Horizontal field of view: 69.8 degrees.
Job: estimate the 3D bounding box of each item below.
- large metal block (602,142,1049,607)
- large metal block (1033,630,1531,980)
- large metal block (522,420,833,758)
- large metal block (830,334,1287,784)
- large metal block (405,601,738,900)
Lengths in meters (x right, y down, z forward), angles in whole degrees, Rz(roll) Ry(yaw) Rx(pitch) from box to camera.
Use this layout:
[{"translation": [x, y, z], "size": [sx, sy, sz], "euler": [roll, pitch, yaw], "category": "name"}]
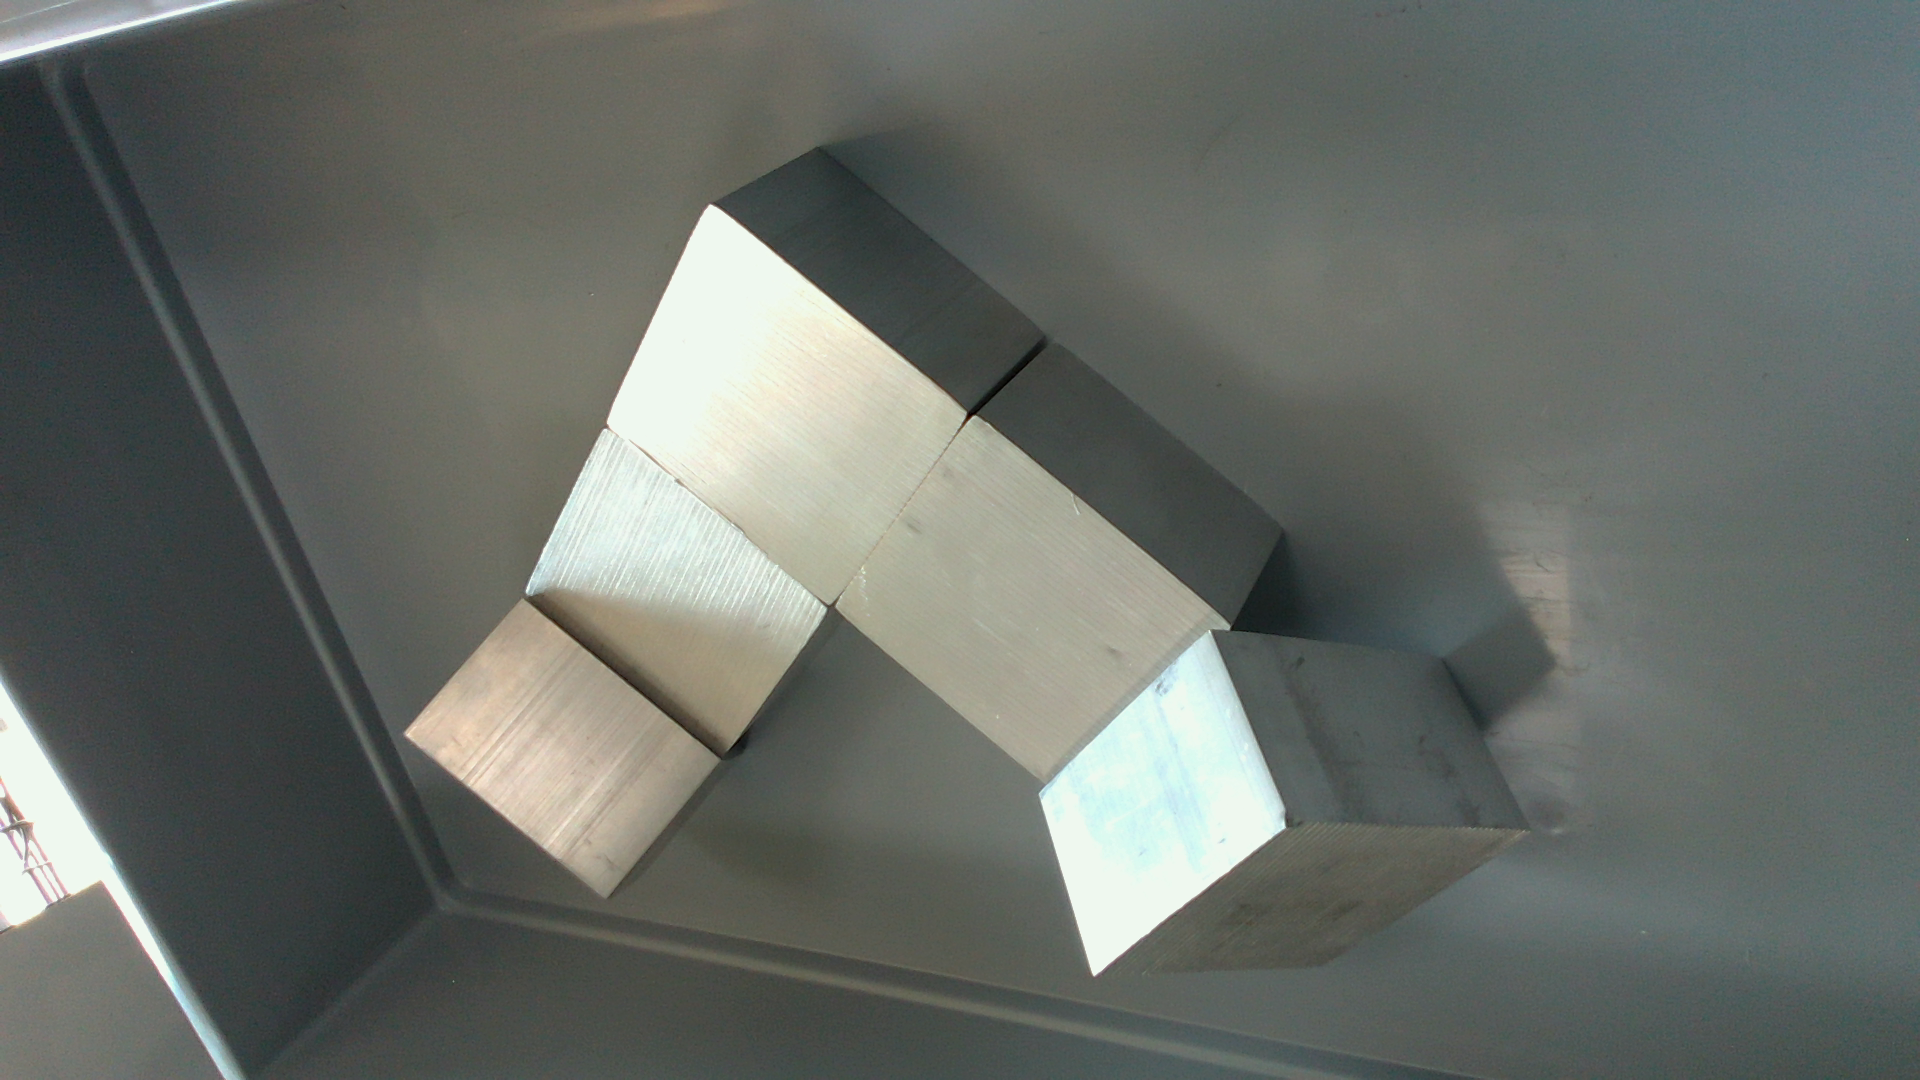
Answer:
[{"translation": [-0.037, -0.044, 0.368], "size": [0.080, 0.050, 0.080], "euler": [39, 129, 2], "category": "large metal block"}, {"translation": [0.078, 0.070, 0.349], "size": [0.080, 0.050, 0.080], "euler": [9, 137, -31], "category": "large metal block"}, {"translation": [-0.075, 0.006, 0.419], "size": [0.080, 0.050, 0.080], "euler": [39, 129, 2], "category": "large metal block"}, {"translation": [0.025, 0.008, 0.366], "size": [0.080, 0.050, 0.080], "euler": [39, 129, 2], "category": "large metal block"}, {"translation": [-0.122, 0.068, 0.455], "size": [0.080, 0.050, 0.080], "euler": [39, 172, 2], "category": "large metal block"}]
